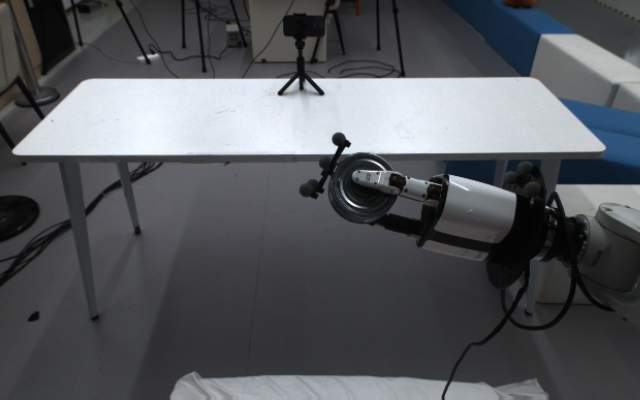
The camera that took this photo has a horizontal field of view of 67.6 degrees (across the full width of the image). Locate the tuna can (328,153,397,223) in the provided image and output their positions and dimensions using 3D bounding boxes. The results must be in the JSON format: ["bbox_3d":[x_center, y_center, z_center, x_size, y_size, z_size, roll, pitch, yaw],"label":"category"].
[{"bbox_3d":[0.057,-0.016,0.604,0.085,0.034,0.085,1,75,-5],"label":"tuna can"}]
